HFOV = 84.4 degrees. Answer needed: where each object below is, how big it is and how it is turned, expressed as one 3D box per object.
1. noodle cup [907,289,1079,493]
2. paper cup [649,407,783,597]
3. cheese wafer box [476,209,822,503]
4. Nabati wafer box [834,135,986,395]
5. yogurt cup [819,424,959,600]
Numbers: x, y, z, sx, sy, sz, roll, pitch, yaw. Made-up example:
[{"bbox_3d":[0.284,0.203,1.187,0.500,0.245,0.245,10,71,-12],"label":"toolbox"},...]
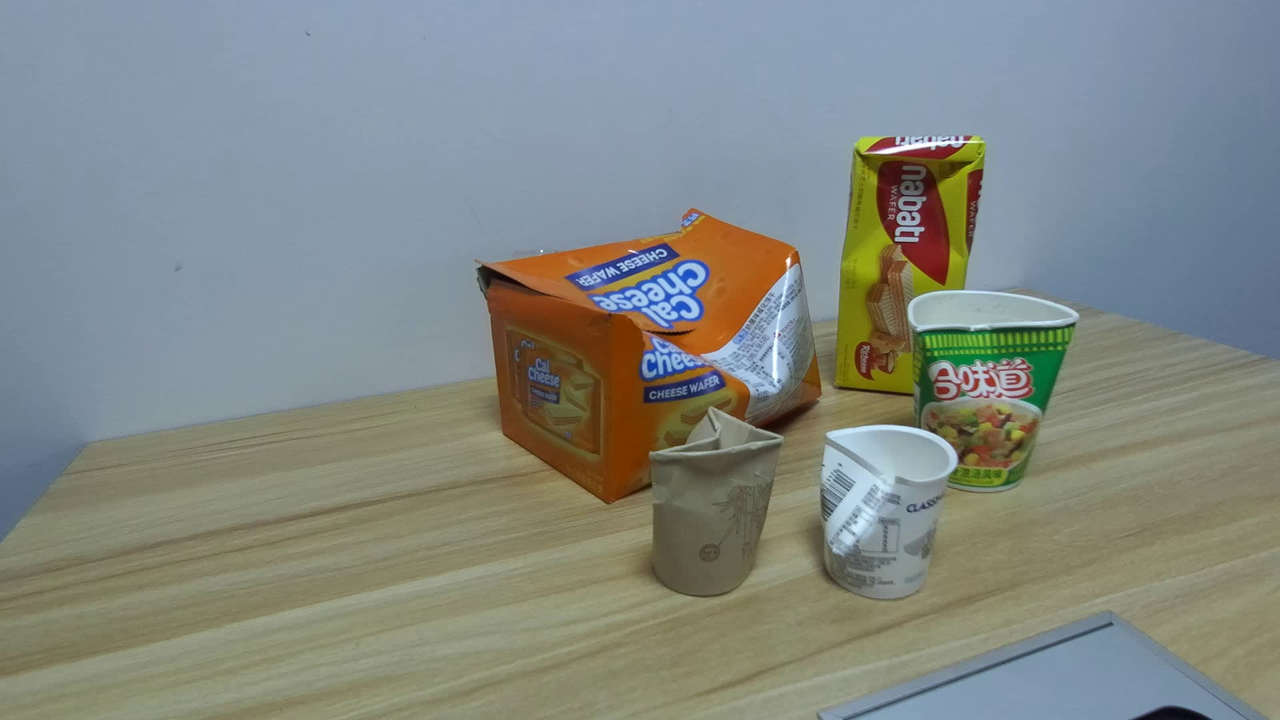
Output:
[{"bbox_3d":[0.219,0.018,0.455,0.093,0.109,0.087,7,24,23],"label":"noodle cup"},{"bbox_3d":[0.033,0.073,0.374,0.066,0.083,0.058,-9,21,-15],"label":"paper cup"},{"bbox_3d":[0.023,-0.018,0.528,0.220,0.145,0.190,-19,25,-36],"label":"cheese wafer box"},{"bbox_3d":[0.210,-0.071,0.562,0.096,0.203,0.042,7,20,17],"label":"Nabati wafer box"},{"bbox_3d":[0.126,0.078,0.365,0.067,0.070,0.067,-3,20,1],"label":"yogurt cup"}]
